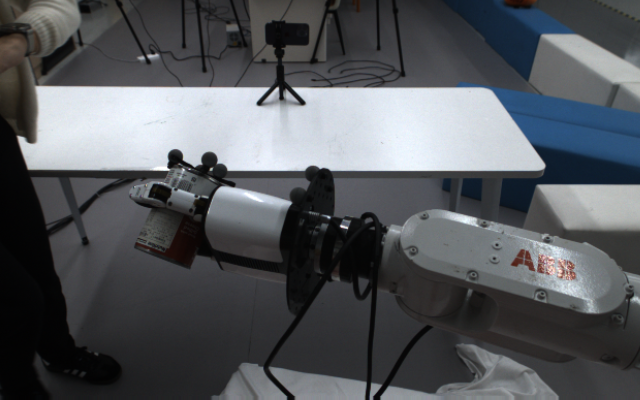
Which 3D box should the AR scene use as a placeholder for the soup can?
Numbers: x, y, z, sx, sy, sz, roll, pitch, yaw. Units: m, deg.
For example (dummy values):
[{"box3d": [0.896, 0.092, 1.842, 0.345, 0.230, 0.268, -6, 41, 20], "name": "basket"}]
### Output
[{"box3d": [-0.158, 0.021, 0.550, 0.067, 0.067, 0.101, 16, 74, 19], "name": "soup can"}]
